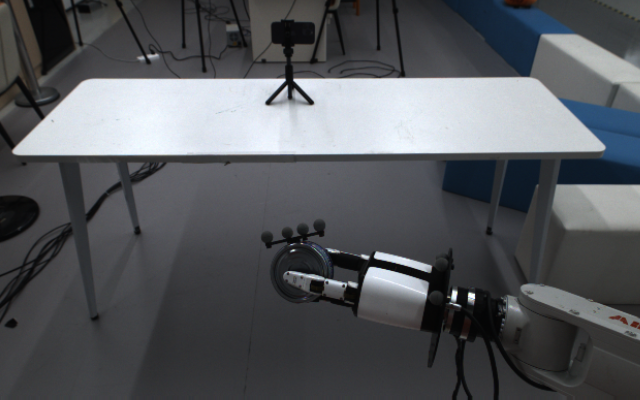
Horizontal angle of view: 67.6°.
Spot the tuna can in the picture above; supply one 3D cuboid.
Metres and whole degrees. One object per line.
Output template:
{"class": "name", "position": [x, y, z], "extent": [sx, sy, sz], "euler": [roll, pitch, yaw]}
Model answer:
{"class": "tuna can", "position": [-0.022, 0.106, 0.675], "extent": [0.085, 0.085, 0.034], "euler": [12, 3, 14]}
